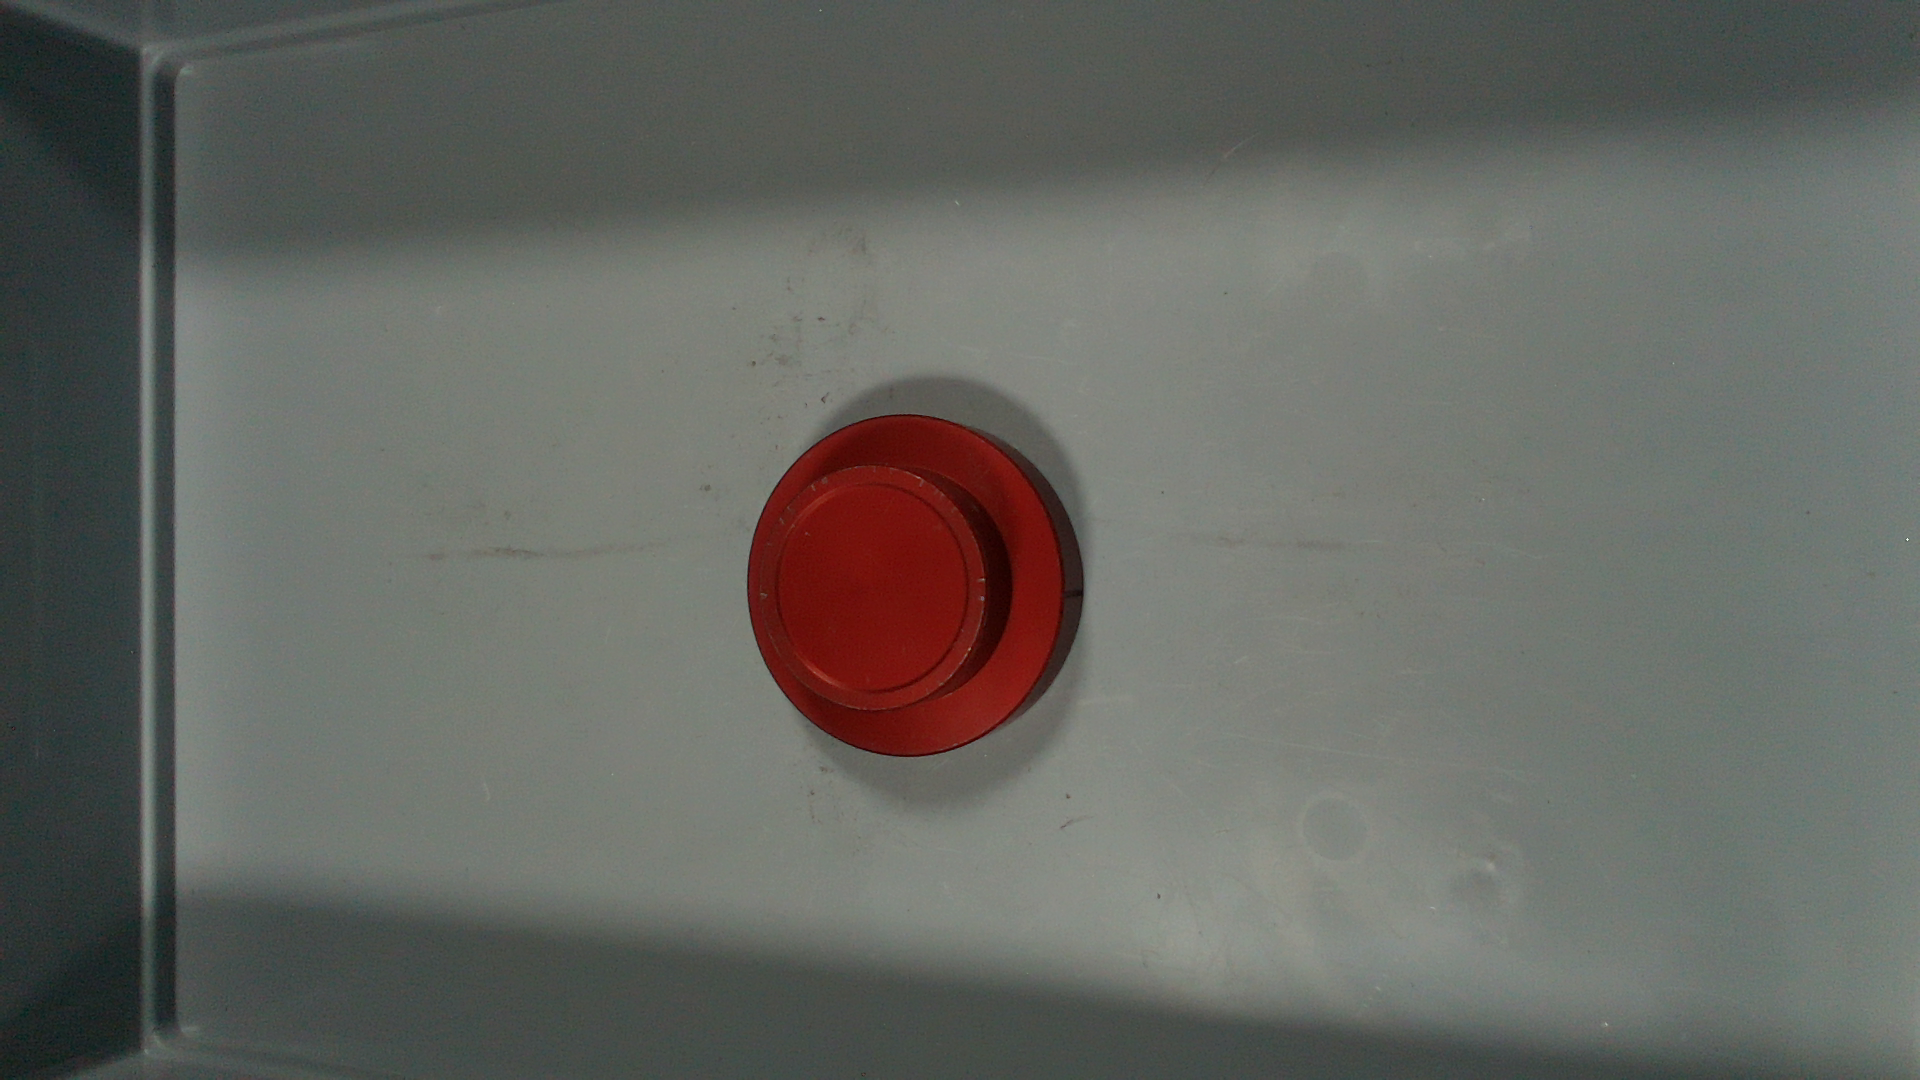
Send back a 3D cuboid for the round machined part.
[{"bbox_3d":[-0.018,0.013,0.390,0.098,0.042,0.098,0,90,20],"label":"round machined part"}]
